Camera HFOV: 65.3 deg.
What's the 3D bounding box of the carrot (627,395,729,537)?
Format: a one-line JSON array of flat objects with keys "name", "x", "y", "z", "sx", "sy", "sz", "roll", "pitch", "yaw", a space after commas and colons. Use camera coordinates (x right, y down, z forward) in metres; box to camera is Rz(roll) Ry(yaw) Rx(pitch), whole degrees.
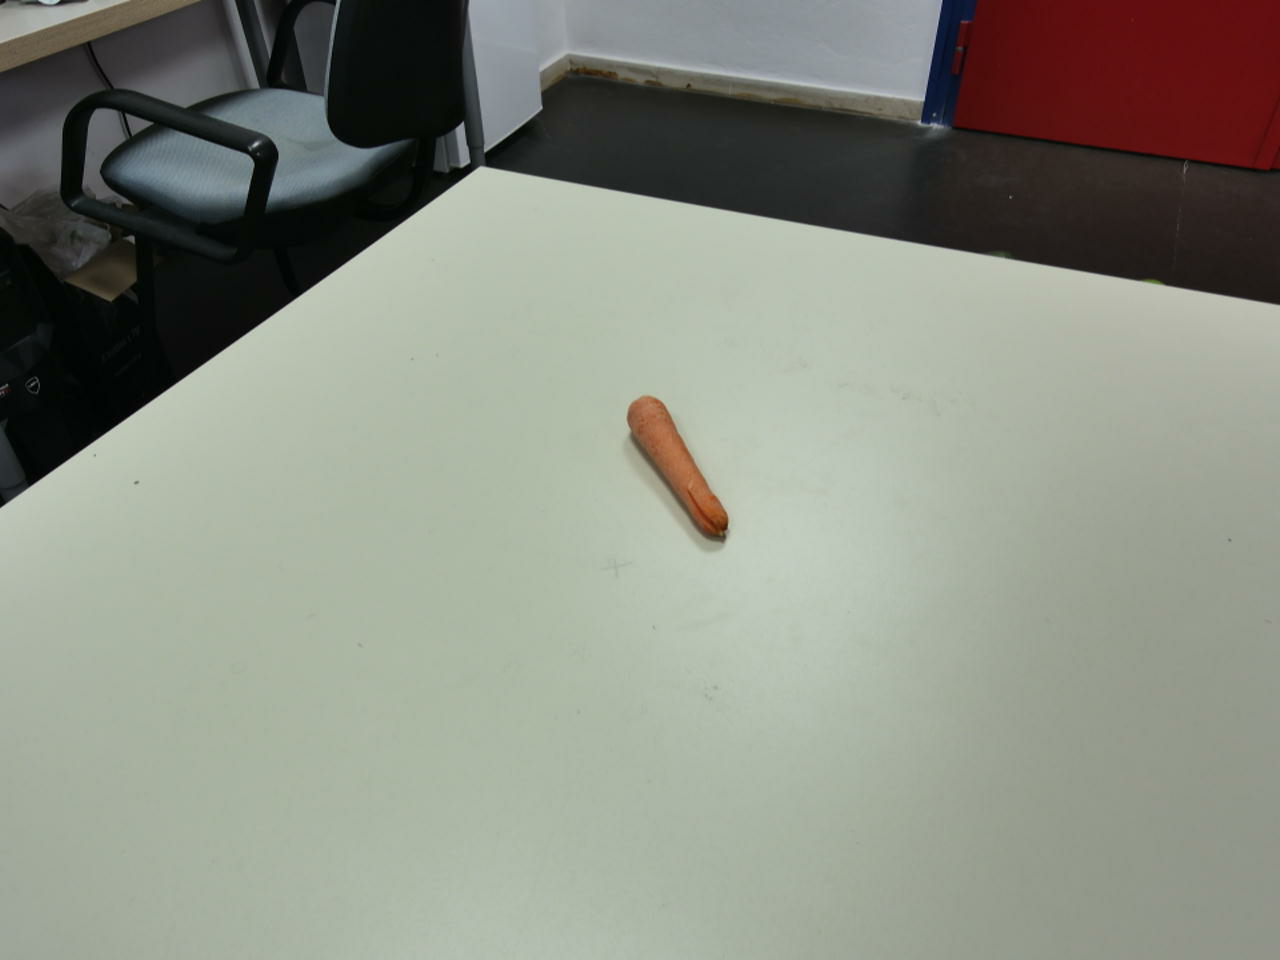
[{"name": "carrot", "x": 0.023, "y": -0.012, "z": 0.649, "sx": 0.030, "sy": 0.032, "sz": 0.136, "roll": -13, "pitch": 40, "yaw": -16}]
